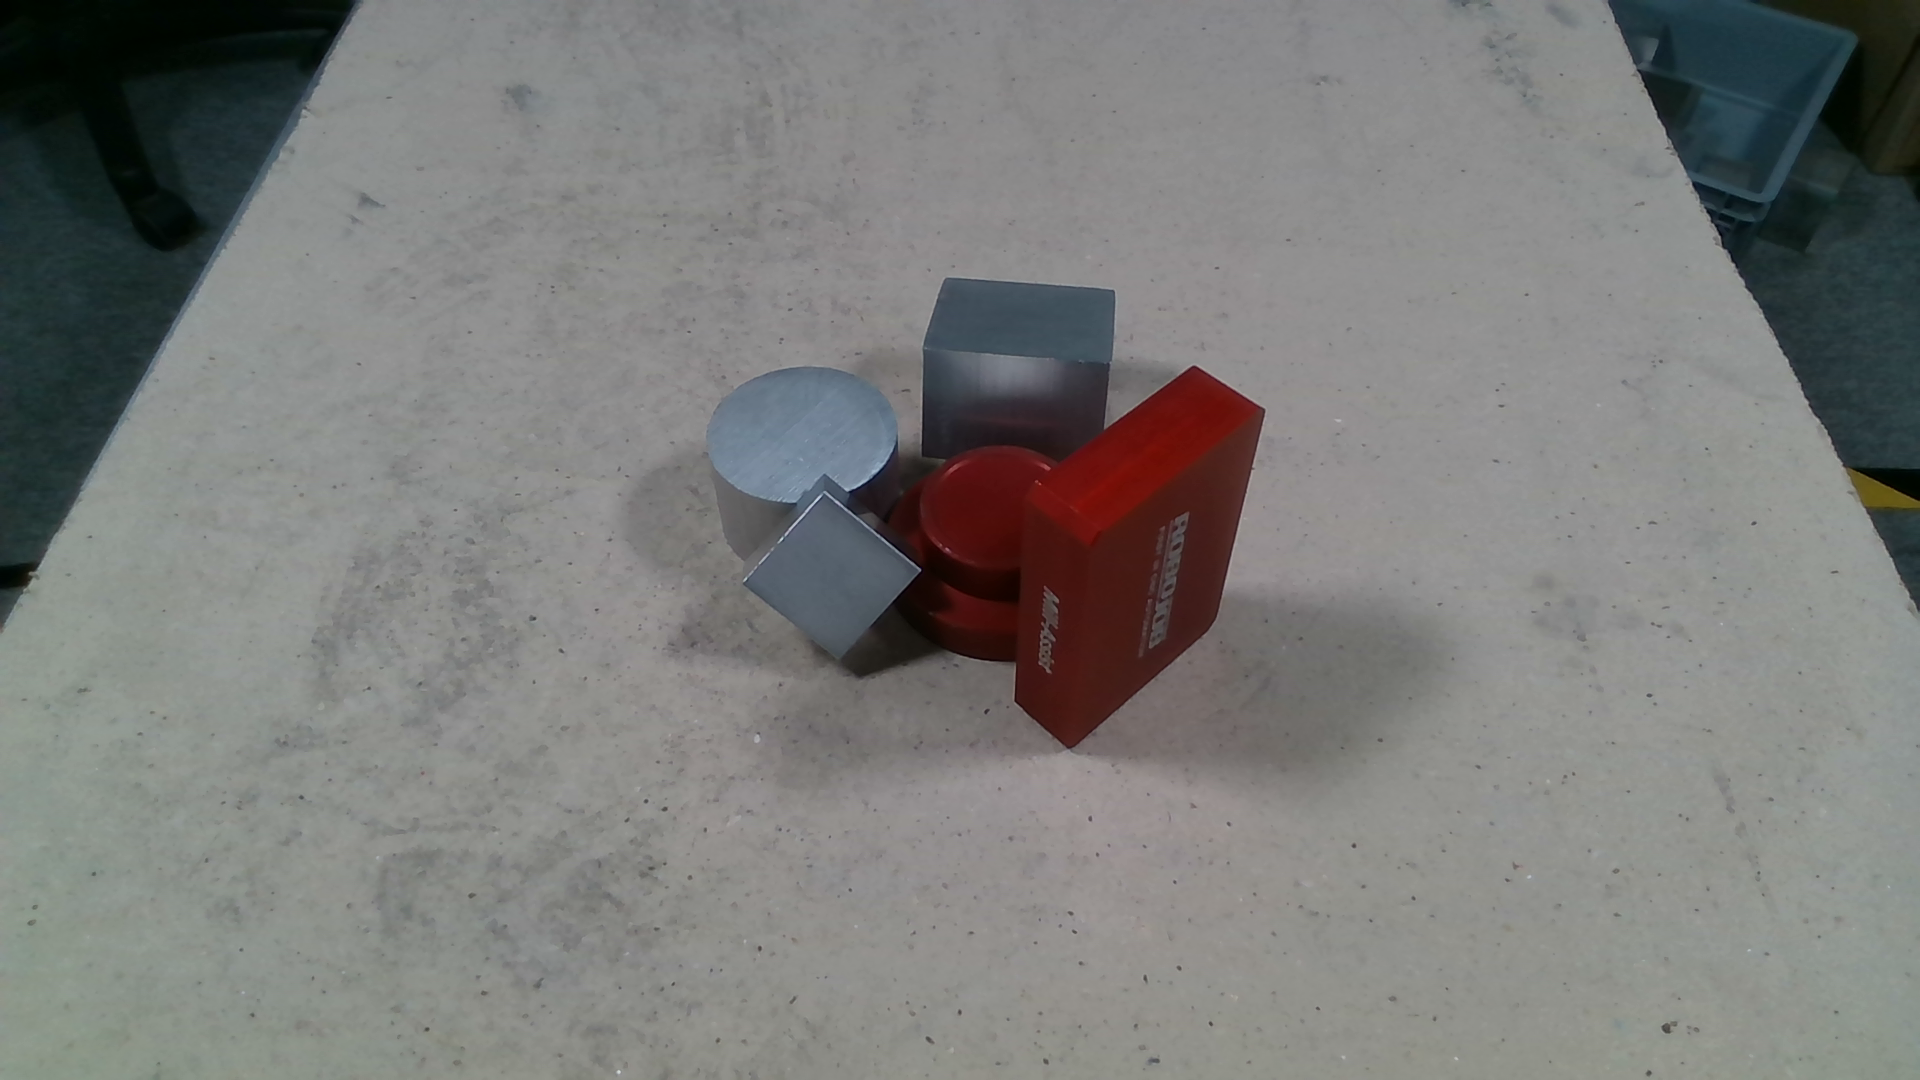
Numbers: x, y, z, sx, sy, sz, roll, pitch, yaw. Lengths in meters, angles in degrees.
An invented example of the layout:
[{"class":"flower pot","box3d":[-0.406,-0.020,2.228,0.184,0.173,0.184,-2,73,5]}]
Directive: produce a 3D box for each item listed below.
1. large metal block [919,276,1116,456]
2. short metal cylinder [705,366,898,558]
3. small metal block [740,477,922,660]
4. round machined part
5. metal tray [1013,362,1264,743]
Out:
[{"class":"large metal block","box3d":[0.027,-0.077,0.619,0.080,0.050,0.080,5,33,5]},{"class":"short metal cylinder","box3d":[-0.066,-0.030,0.596,0.080,0.050,0.080,0,50,0]},{"class":"small metal block","box3d":[-0.051,0.011,0.548,0.050,0.050,0.025,-47,17,11]},{"class":"round machined part","box3d":[0.017,-0.001,0.578,0.098,0.042,0.098,0,50,0]},{"class":"metal tray","box3d":[0.063,0.008,0.510,0.090,0.130,0.030,-37,59,-26]}]
